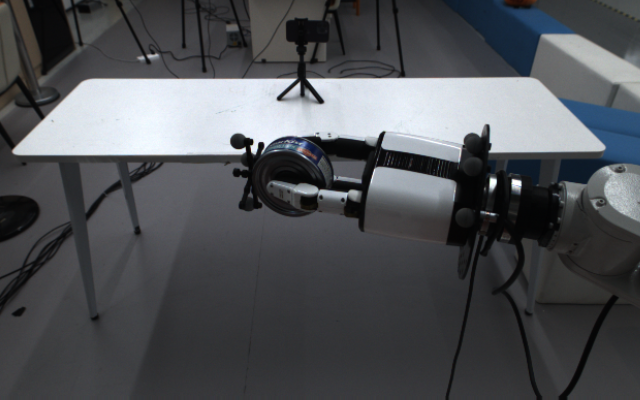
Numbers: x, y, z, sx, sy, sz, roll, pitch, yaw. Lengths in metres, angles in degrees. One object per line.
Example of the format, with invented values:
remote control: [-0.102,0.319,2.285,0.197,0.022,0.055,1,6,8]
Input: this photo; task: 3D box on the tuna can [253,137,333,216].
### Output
tuna can: [-0.026,-0.022,0.528,0.085,0.085,0.034,9,33,10]
